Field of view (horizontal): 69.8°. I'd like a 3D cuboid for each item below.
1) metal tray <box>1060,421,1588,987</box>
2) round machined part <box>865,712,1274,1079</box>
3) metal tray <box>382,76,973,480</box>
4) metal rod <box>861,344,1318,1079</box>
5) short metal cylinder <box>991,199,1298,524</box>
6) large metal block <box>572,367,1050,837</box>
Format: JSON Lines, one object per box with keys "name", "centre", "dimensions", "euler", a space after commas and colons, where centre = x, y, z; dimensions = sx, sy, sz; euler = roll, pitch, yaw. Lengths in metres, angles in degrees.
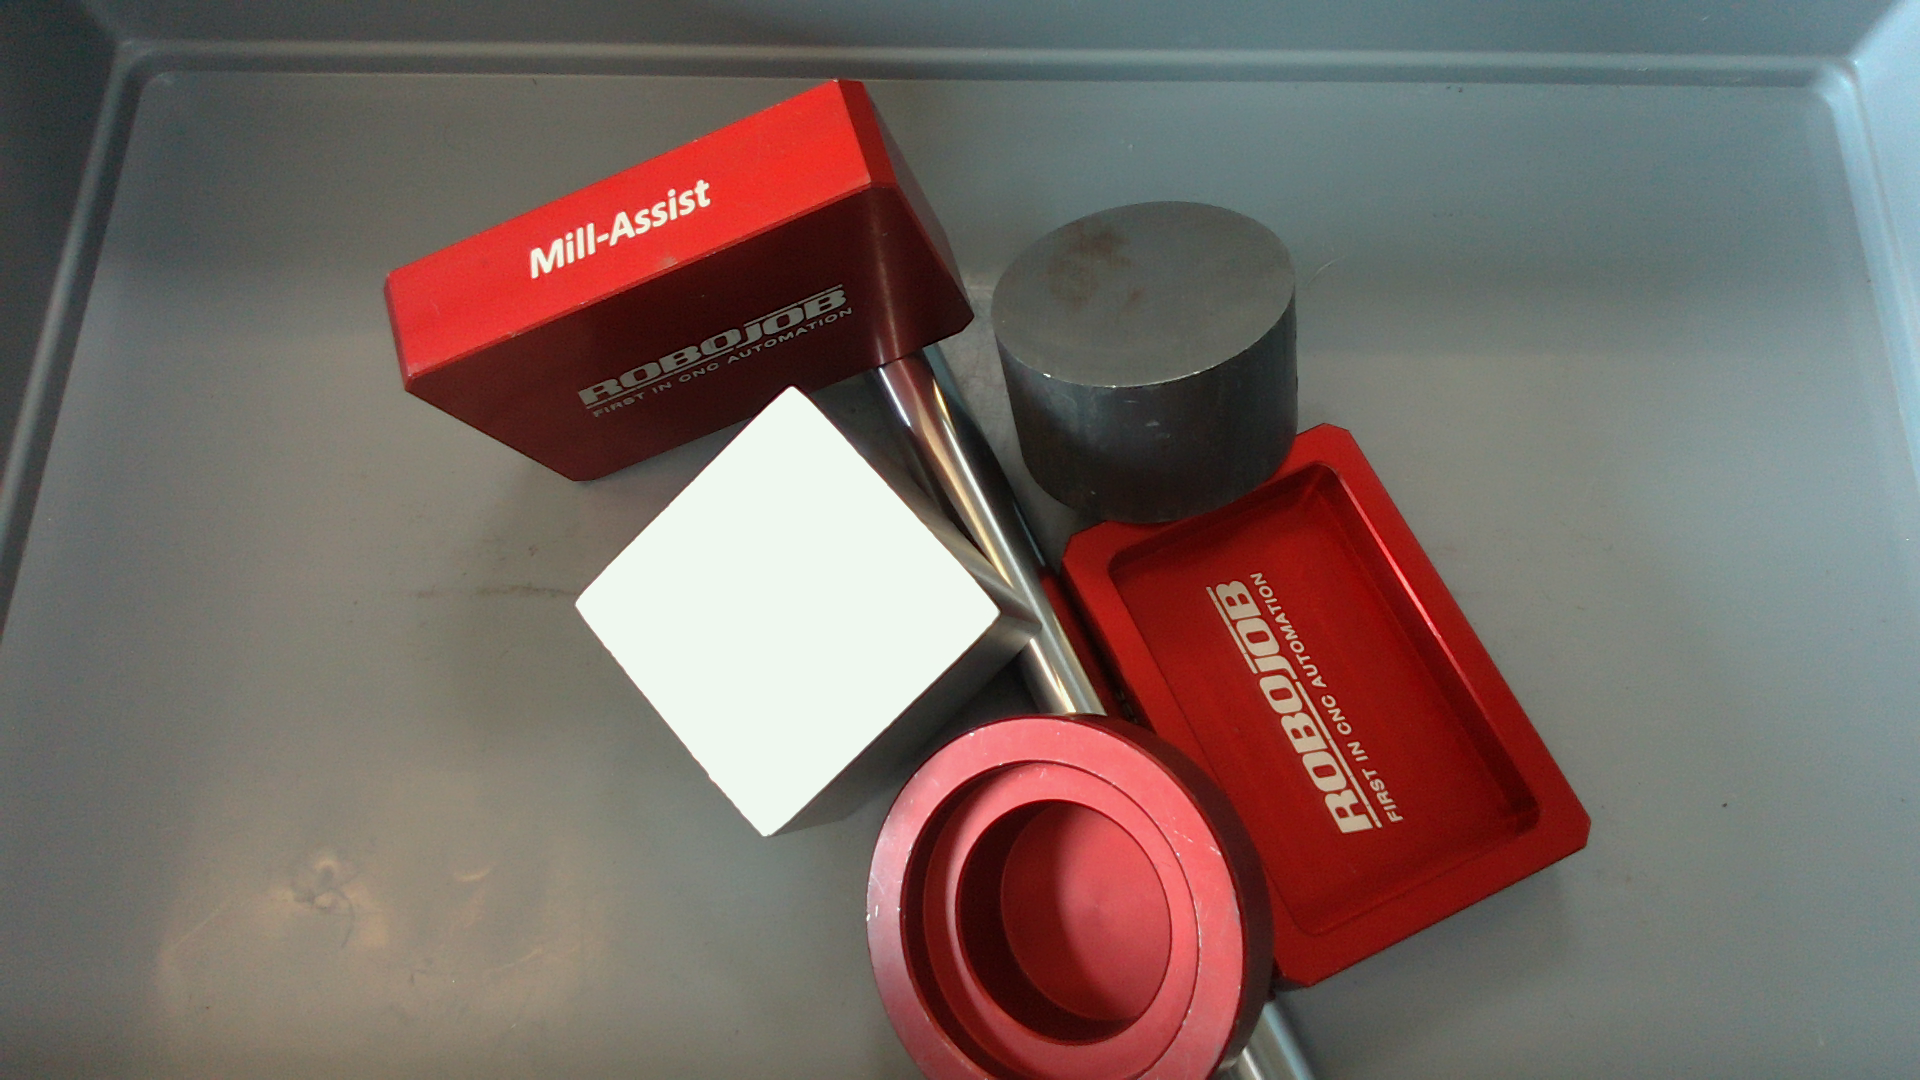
{"name": "metal tray", "centre": [0.094, 0.042, 0.376], "dimensions": [0.090, 0.030, 0.130], "euler": [-24, 72, -8]}
{"name": "round machined part", "centre": [0.029, 0.091, 0.336], "dimensions": [0.098, 0.042, 0.098], "euler": [-3, 84, 29]}
{"name": "metal tray", "centre": [-0.070, -0.063, 0.367], "dimensions": [0.130, 0.090, 0.030], "euler": [-21, 72, 8]}
{"name": "metal rod", "centre": [0.024, 0.030, 0.382], "dimensions": [0.025, 0.025, 0.300], "euler": [-24, 72, -8]}
{"name": "short metal cylinder", "centre": [0.052, -0.051, 0.383], "dimensions": [0.080, 0.050, 0.080], "euler": [-8, 45, 8]}
{"name": "large metal block", "centre": [-0.036, 0.017, 0.354], "dimensions": [0.080, 0.050, 0.080], "euler": [-45, 75, 4]}
